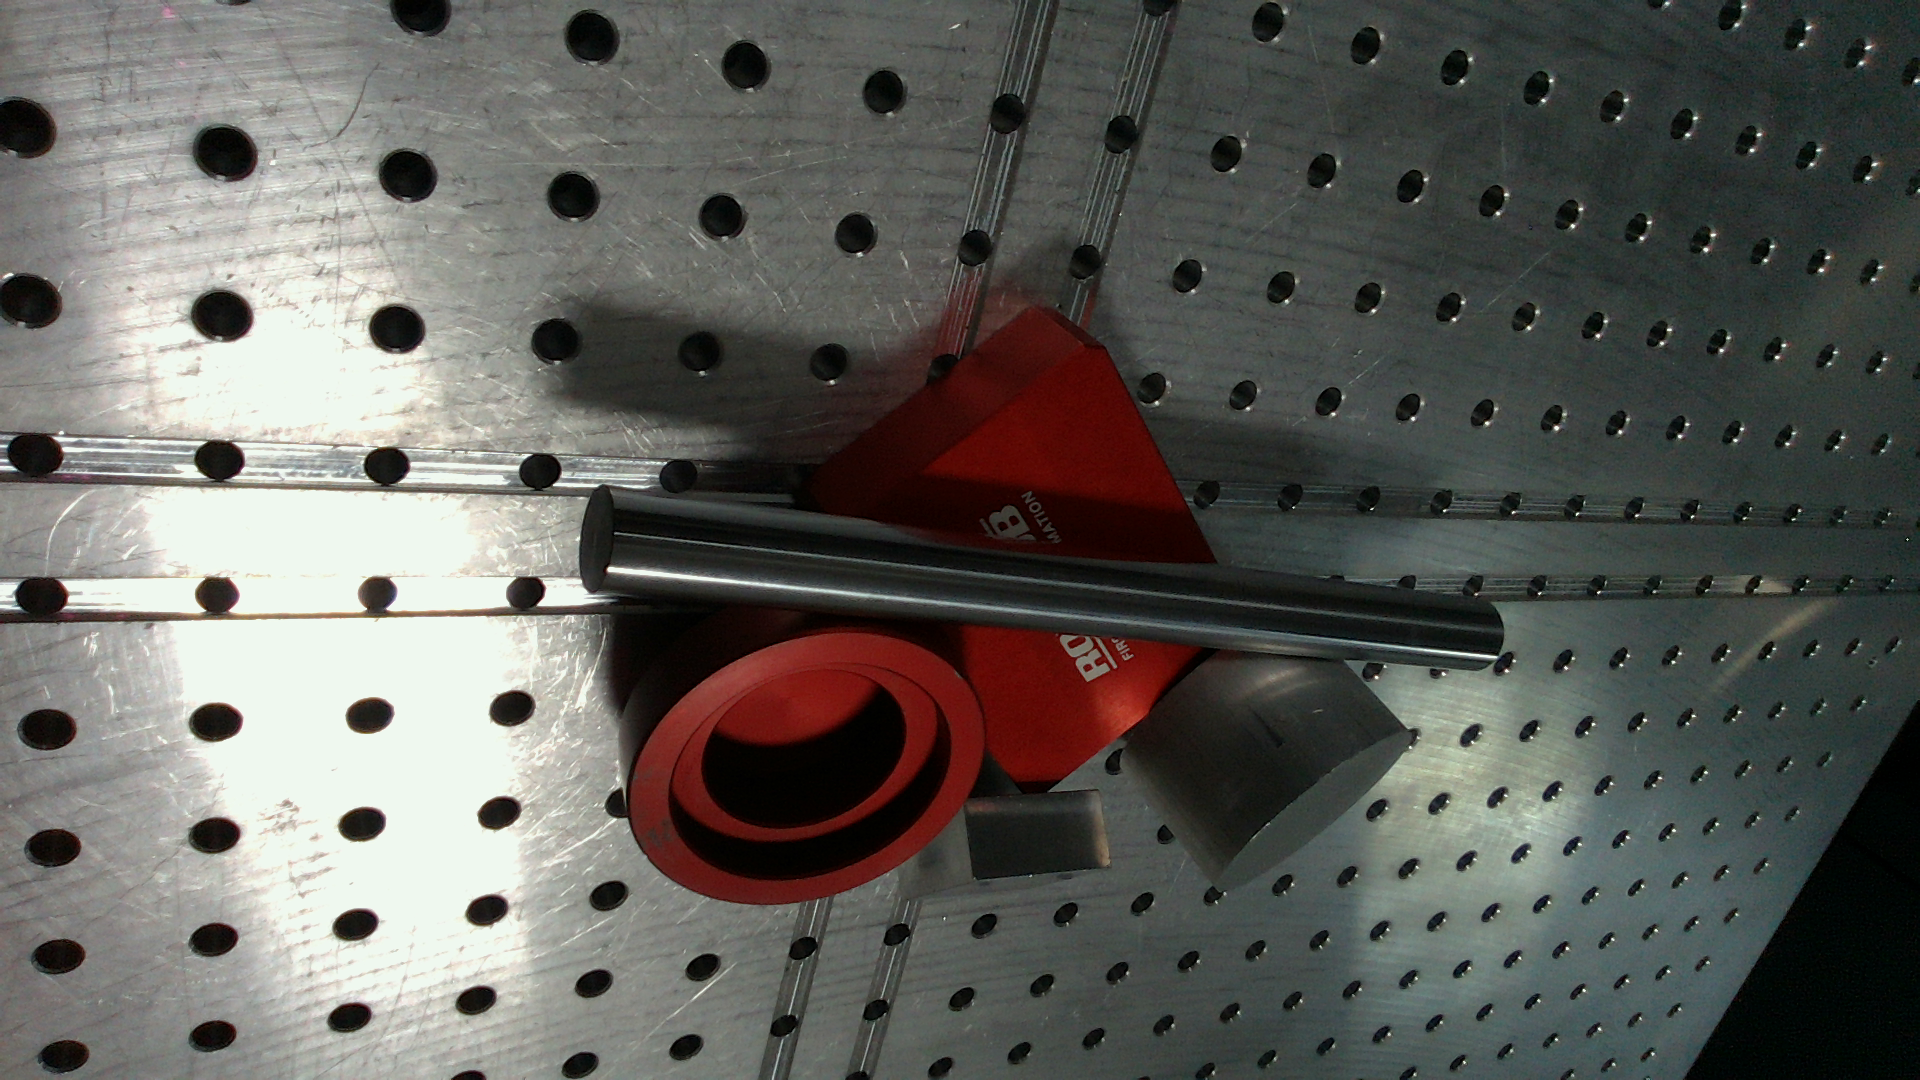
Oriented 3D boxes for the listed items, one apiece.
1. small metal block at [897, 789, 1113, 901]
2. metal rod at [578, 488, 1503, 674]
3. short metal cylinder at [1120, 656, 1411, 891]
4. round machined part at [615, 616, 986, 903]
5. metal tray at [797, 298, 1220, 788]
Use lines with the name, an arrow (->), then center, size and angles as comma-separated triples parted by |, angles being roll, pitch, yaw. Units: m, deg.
small metal block -> 0.013, 0.098, 0.442 | 0.050, 0.025, 0.050 | 2, 160, -30
metal rod -> 0.046, 0.017, 0.387 | 0.301, 0.025, 0.025 | 7, 115, -32
short metal cylinder -> 0.100, 0.070, 0.454 | 0.080, 0.050, 0.080 | -30, 153, -17
round machined part -> -0.046, 0.052, 0.382 | 0.098, 0.042, 0.098 | -11, 128, -14
metal tray -> 0.023, 0.006, 0.407 | 0.090, 0.030, 0.130 | -37, 129, -3
